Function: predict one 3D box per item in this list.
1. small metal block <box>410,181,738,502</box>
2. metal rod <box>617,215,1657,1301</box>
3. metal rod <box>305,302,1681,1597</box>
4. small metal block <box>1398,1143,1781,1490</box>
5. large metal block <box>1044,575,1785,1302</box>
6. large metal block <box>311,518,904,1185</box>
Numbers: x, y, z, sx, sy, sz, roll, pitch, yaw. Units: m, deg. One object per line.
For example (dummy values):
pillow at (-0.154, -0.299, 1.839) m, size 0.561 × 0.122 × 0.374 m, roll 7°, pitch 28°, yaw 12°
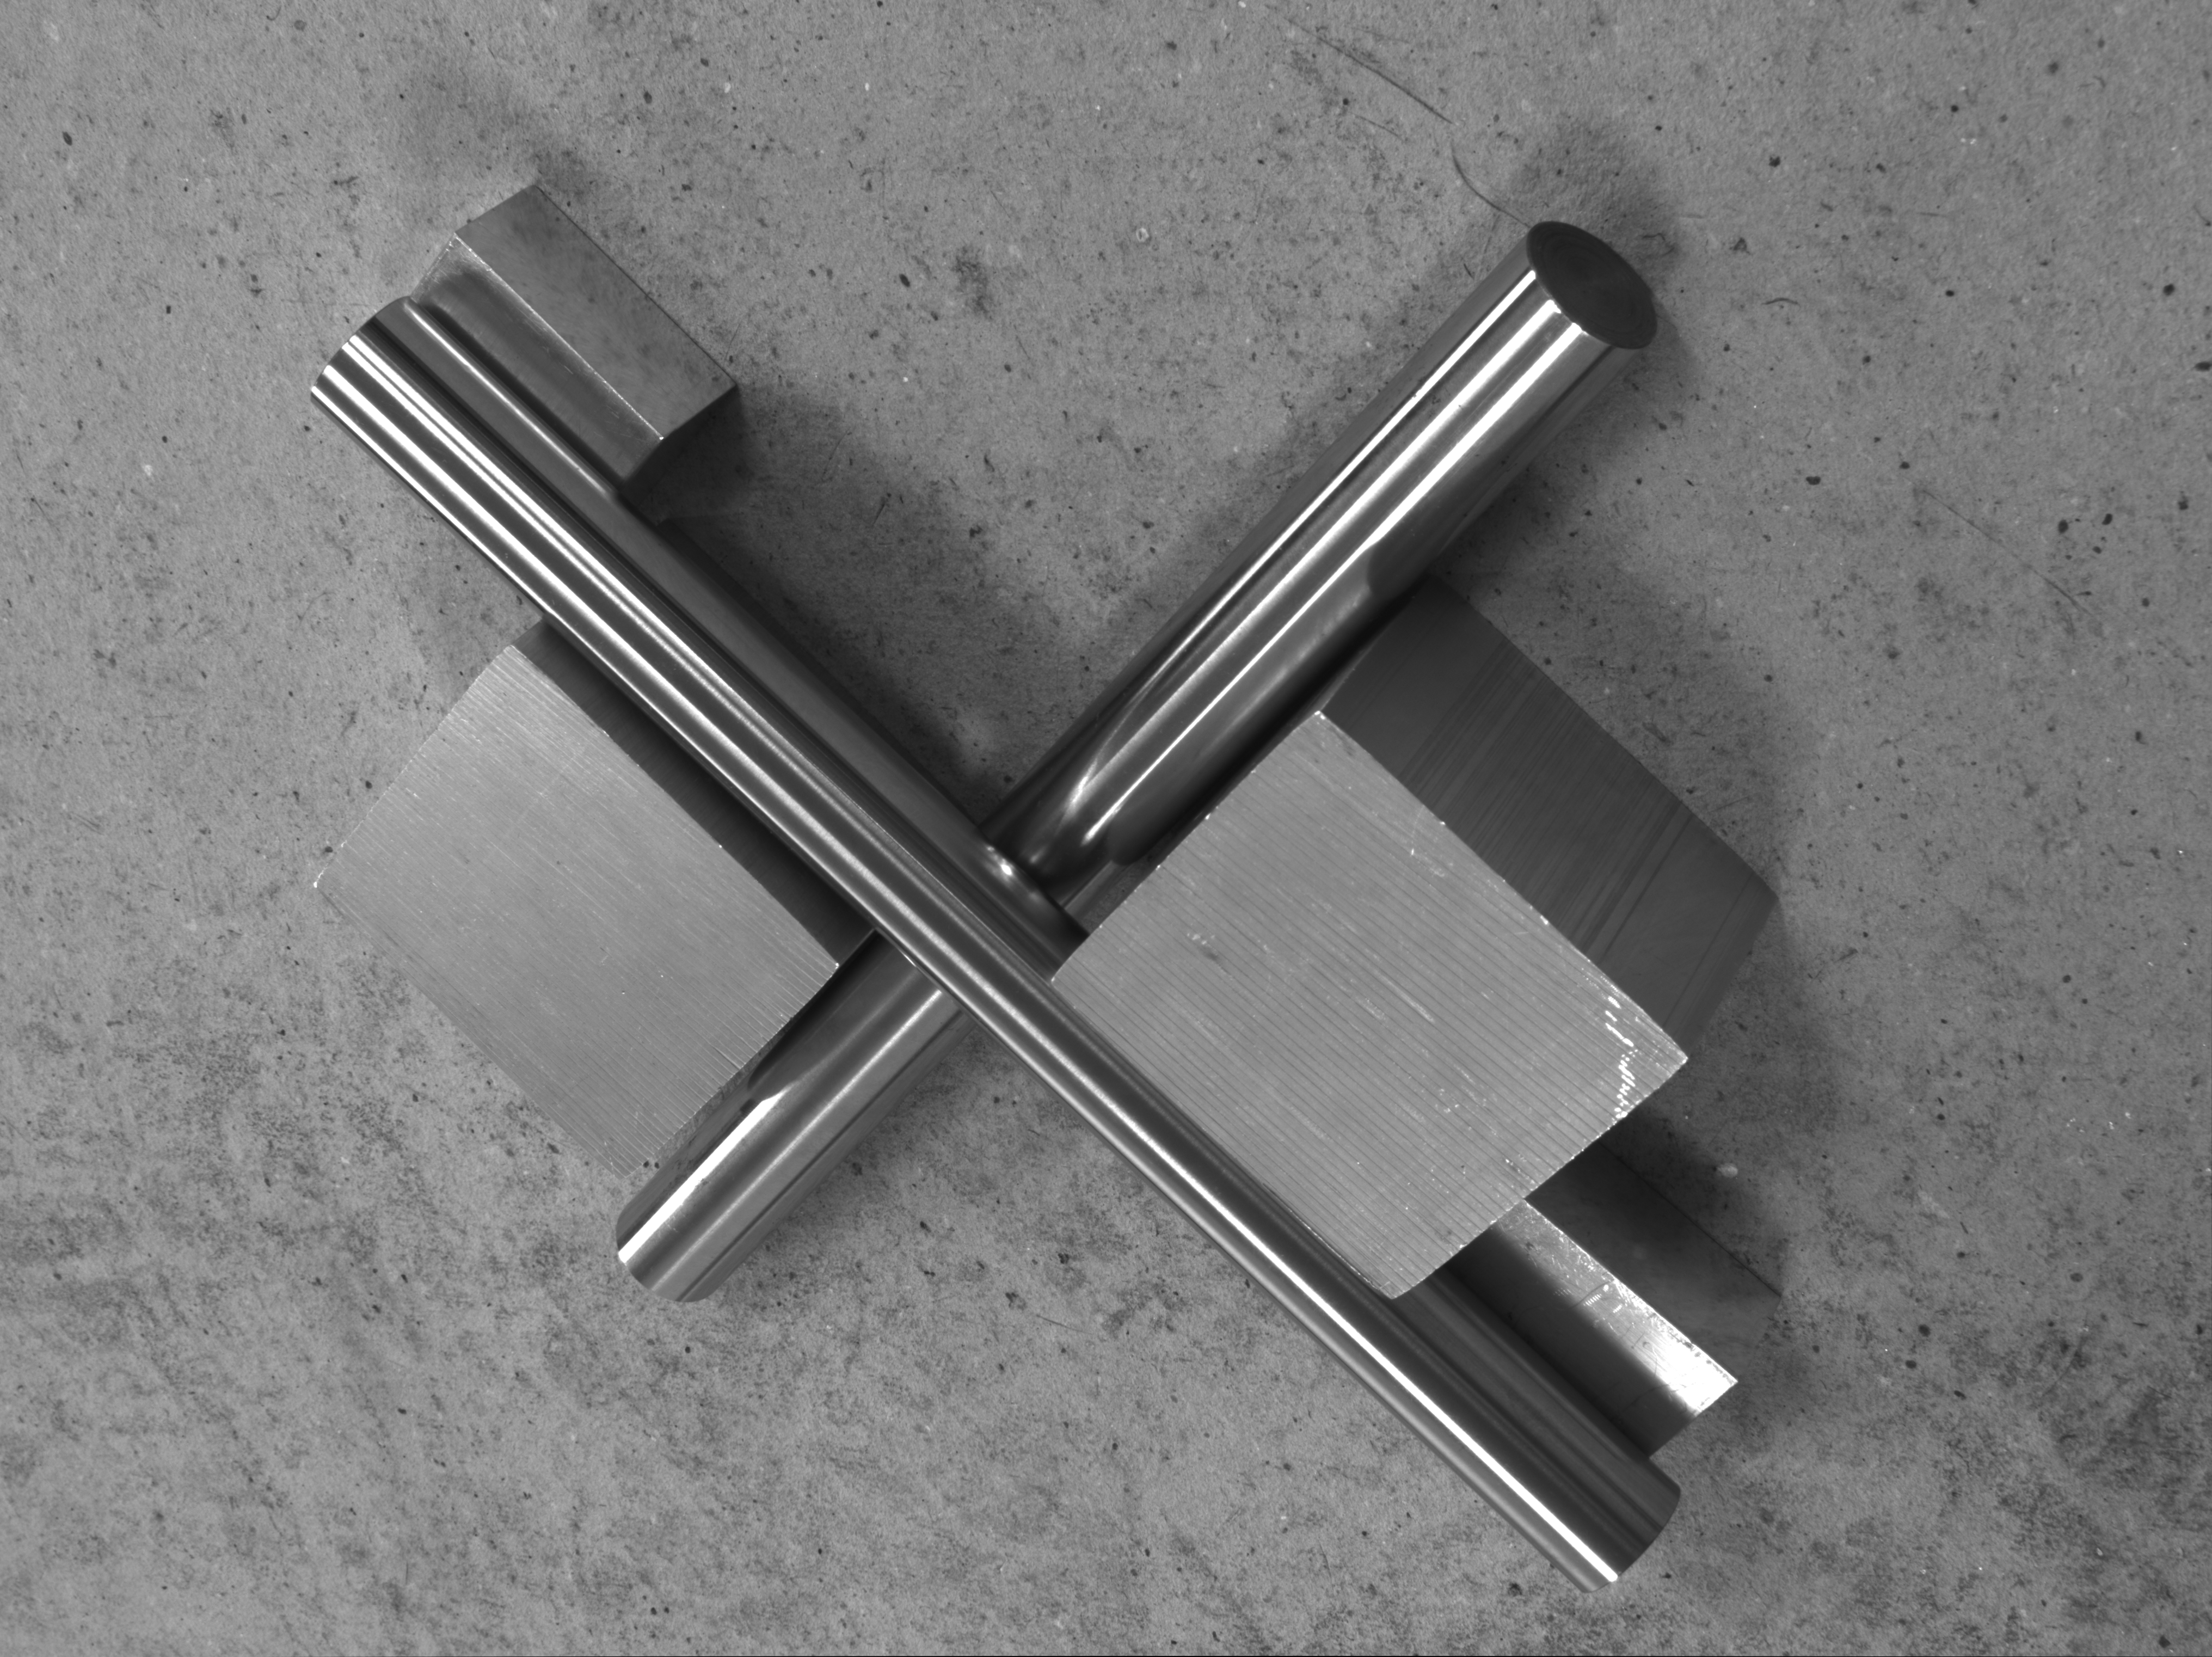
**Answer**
small metal block at (-0.102, -0.077, 0.652) m, size 0.050 × 0.025 × 0.050 m, roll 44°, pitch 129°, yaw -2°
metal rod at (-0.007, 0.001, 0.648) m, size 0.025 × 0.025 × 0.299 m, roll 43°, pitch 129°, yaw -1°
metal rod at (-0.019, 0.021, 0.633) m, size 0.300 × 0.025 × 0.025 m, roll 43°, pitch 129°, yaw -1°
small metal block at (0.082, 0.087, 0.653) m, size 0.050 × 0.025 × 0.050 m, roll 40°, pitch 129°, yaw 1°
large metal block at (0.051, 0.018, 0.611) m, size 0.080 × 0.050 × 0.080 m, roll 43°, pitch 129°, yaw -1°
large metal block at (-0.085, 0.005, 0.674) m, size 0.080 × 0.050 × 0.080 m, roll 45°, pitch 129°, yaw -3°
